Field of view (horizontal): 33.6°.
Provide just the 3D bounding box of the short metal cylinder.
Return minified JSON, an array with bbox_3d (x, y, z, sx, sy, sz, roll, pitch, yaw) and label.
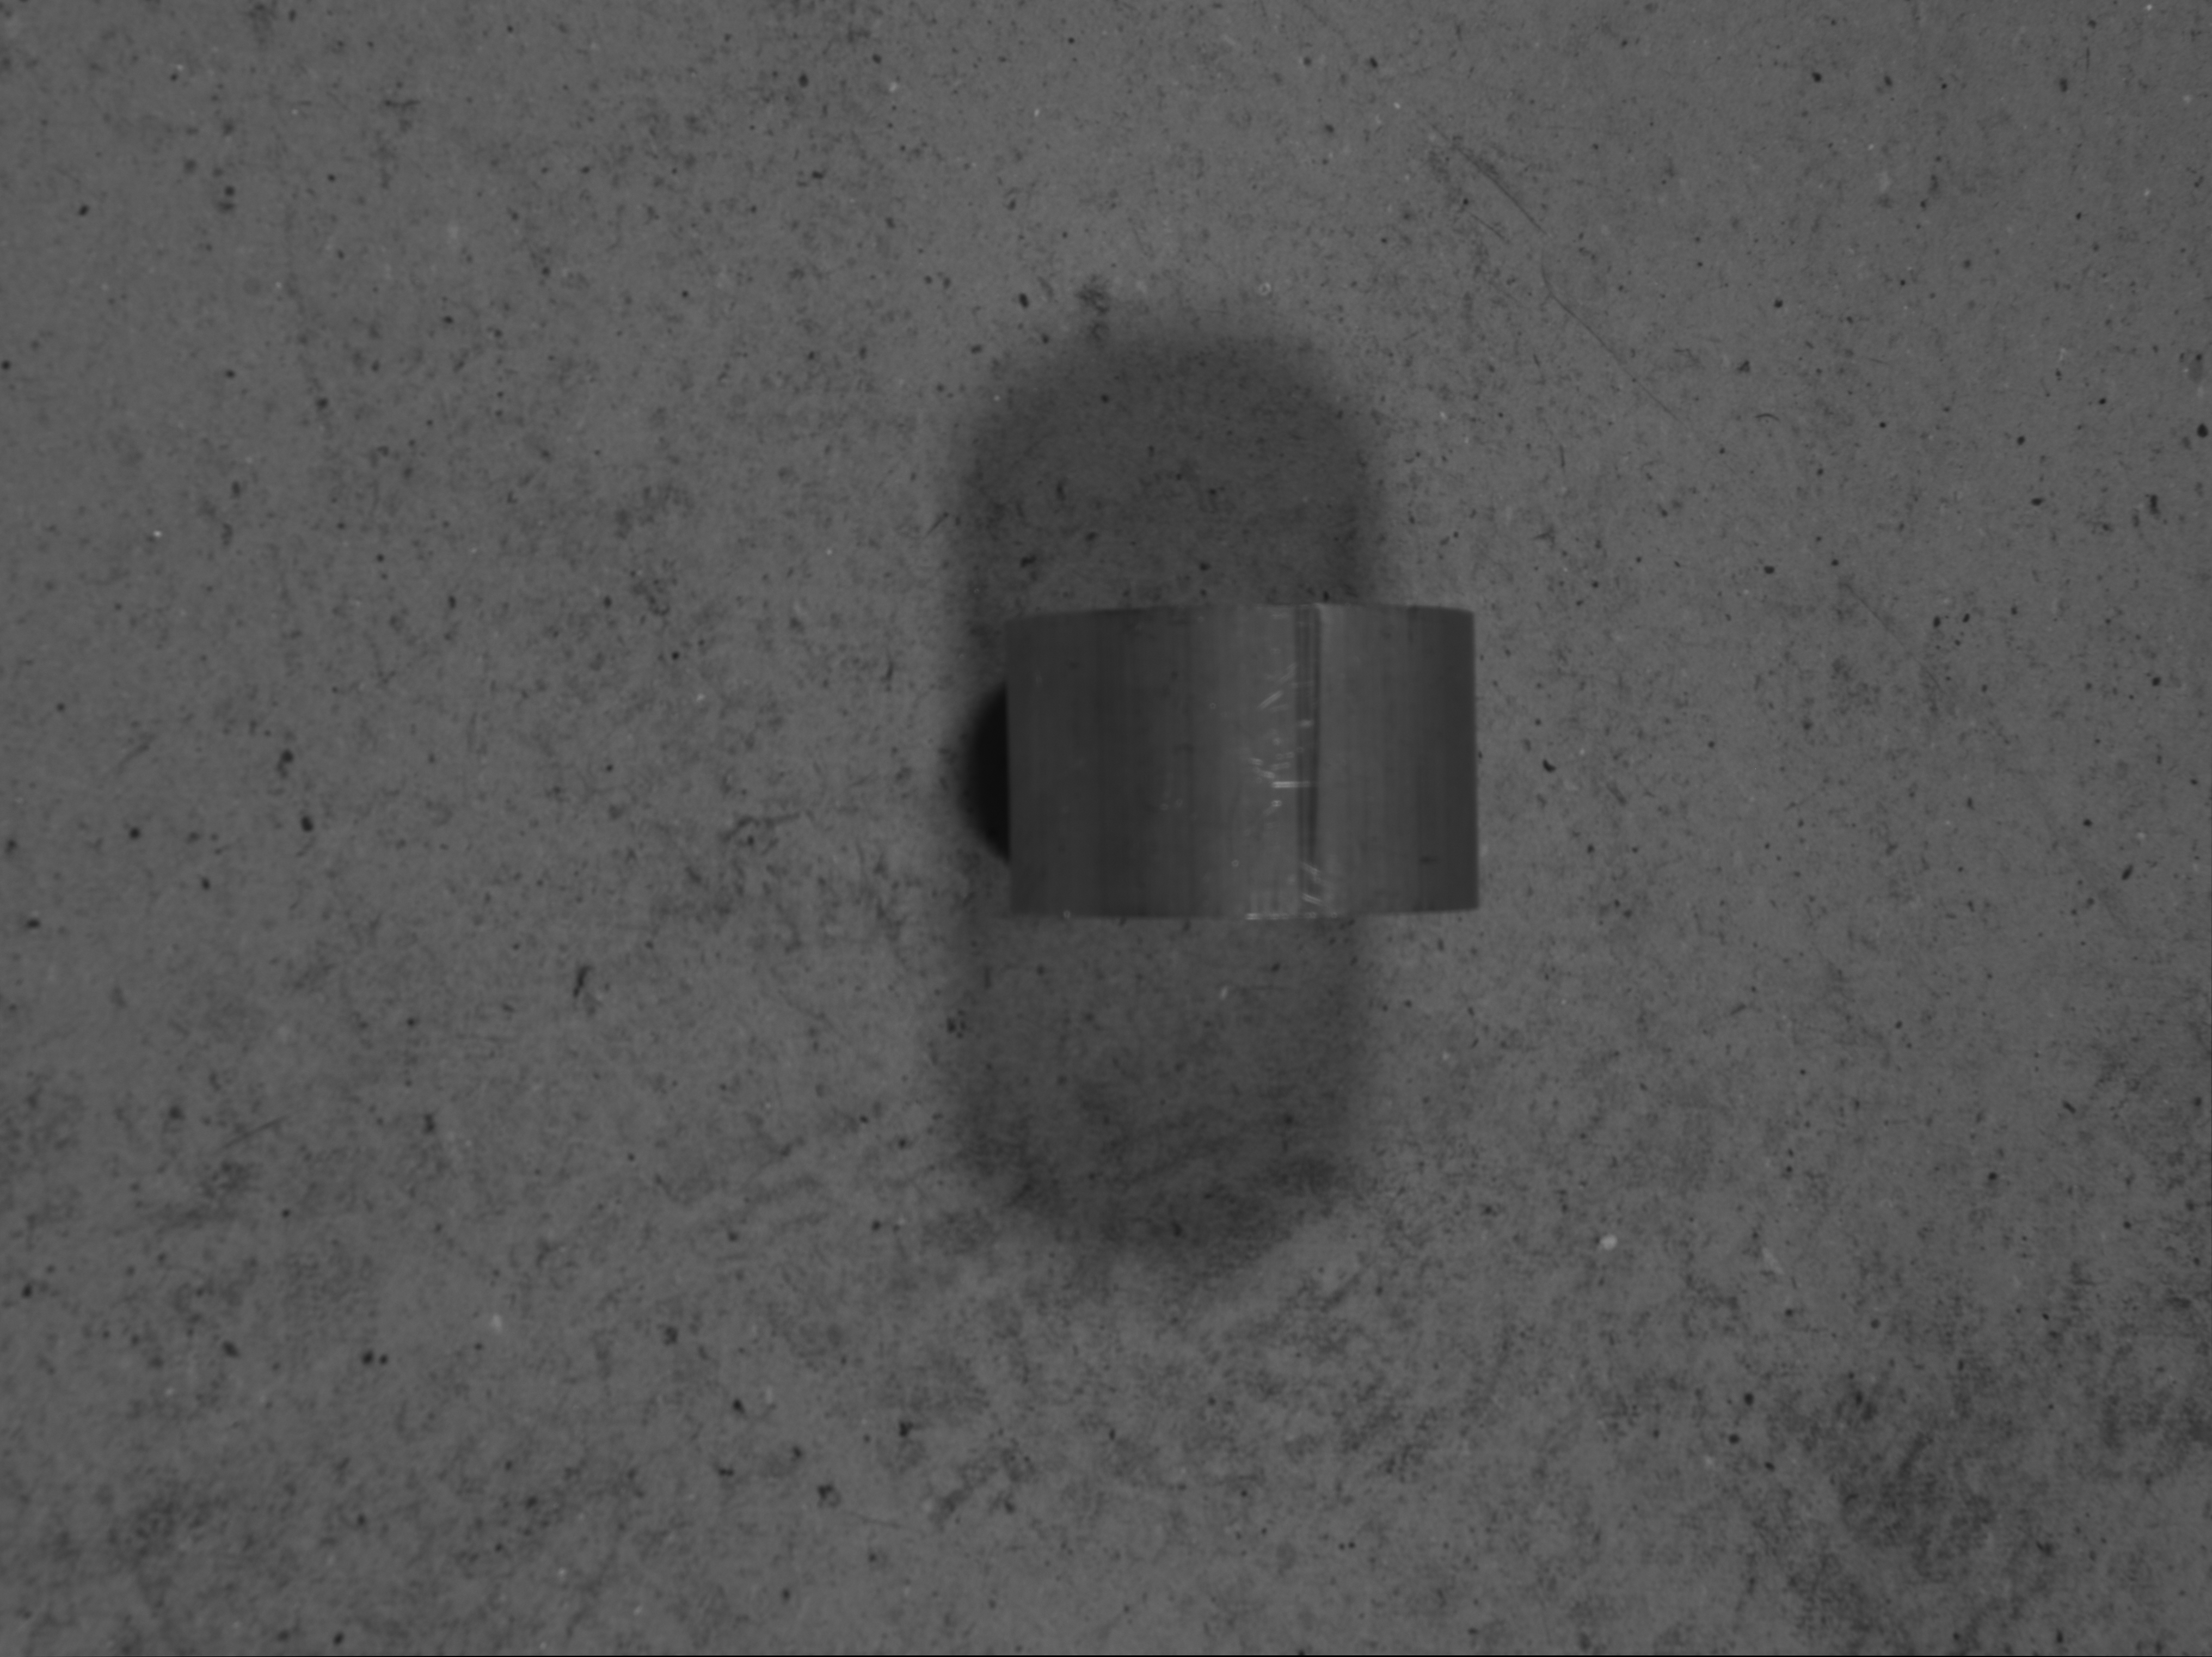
[{"bbox_3d":[0.029,-0.011,0.625,0.080,0.080,0.050,-1,90,-20],"label":"short metal cylinder"}]
